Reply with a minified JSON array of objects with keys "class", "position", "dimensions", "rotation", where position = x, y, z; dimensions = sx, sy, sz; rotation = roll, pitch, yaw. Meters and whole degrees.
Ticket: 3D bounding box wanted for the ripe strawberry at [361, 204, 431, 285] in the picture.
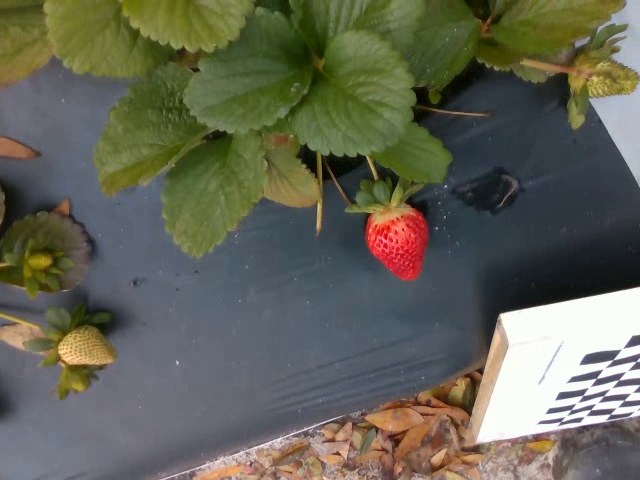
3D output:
[{"class":"ripe strawberry","position":[0.040,0.001,0.309],"dimensions":[0.036,0.046,0.040],"rotation":[-8,17,22]}]
